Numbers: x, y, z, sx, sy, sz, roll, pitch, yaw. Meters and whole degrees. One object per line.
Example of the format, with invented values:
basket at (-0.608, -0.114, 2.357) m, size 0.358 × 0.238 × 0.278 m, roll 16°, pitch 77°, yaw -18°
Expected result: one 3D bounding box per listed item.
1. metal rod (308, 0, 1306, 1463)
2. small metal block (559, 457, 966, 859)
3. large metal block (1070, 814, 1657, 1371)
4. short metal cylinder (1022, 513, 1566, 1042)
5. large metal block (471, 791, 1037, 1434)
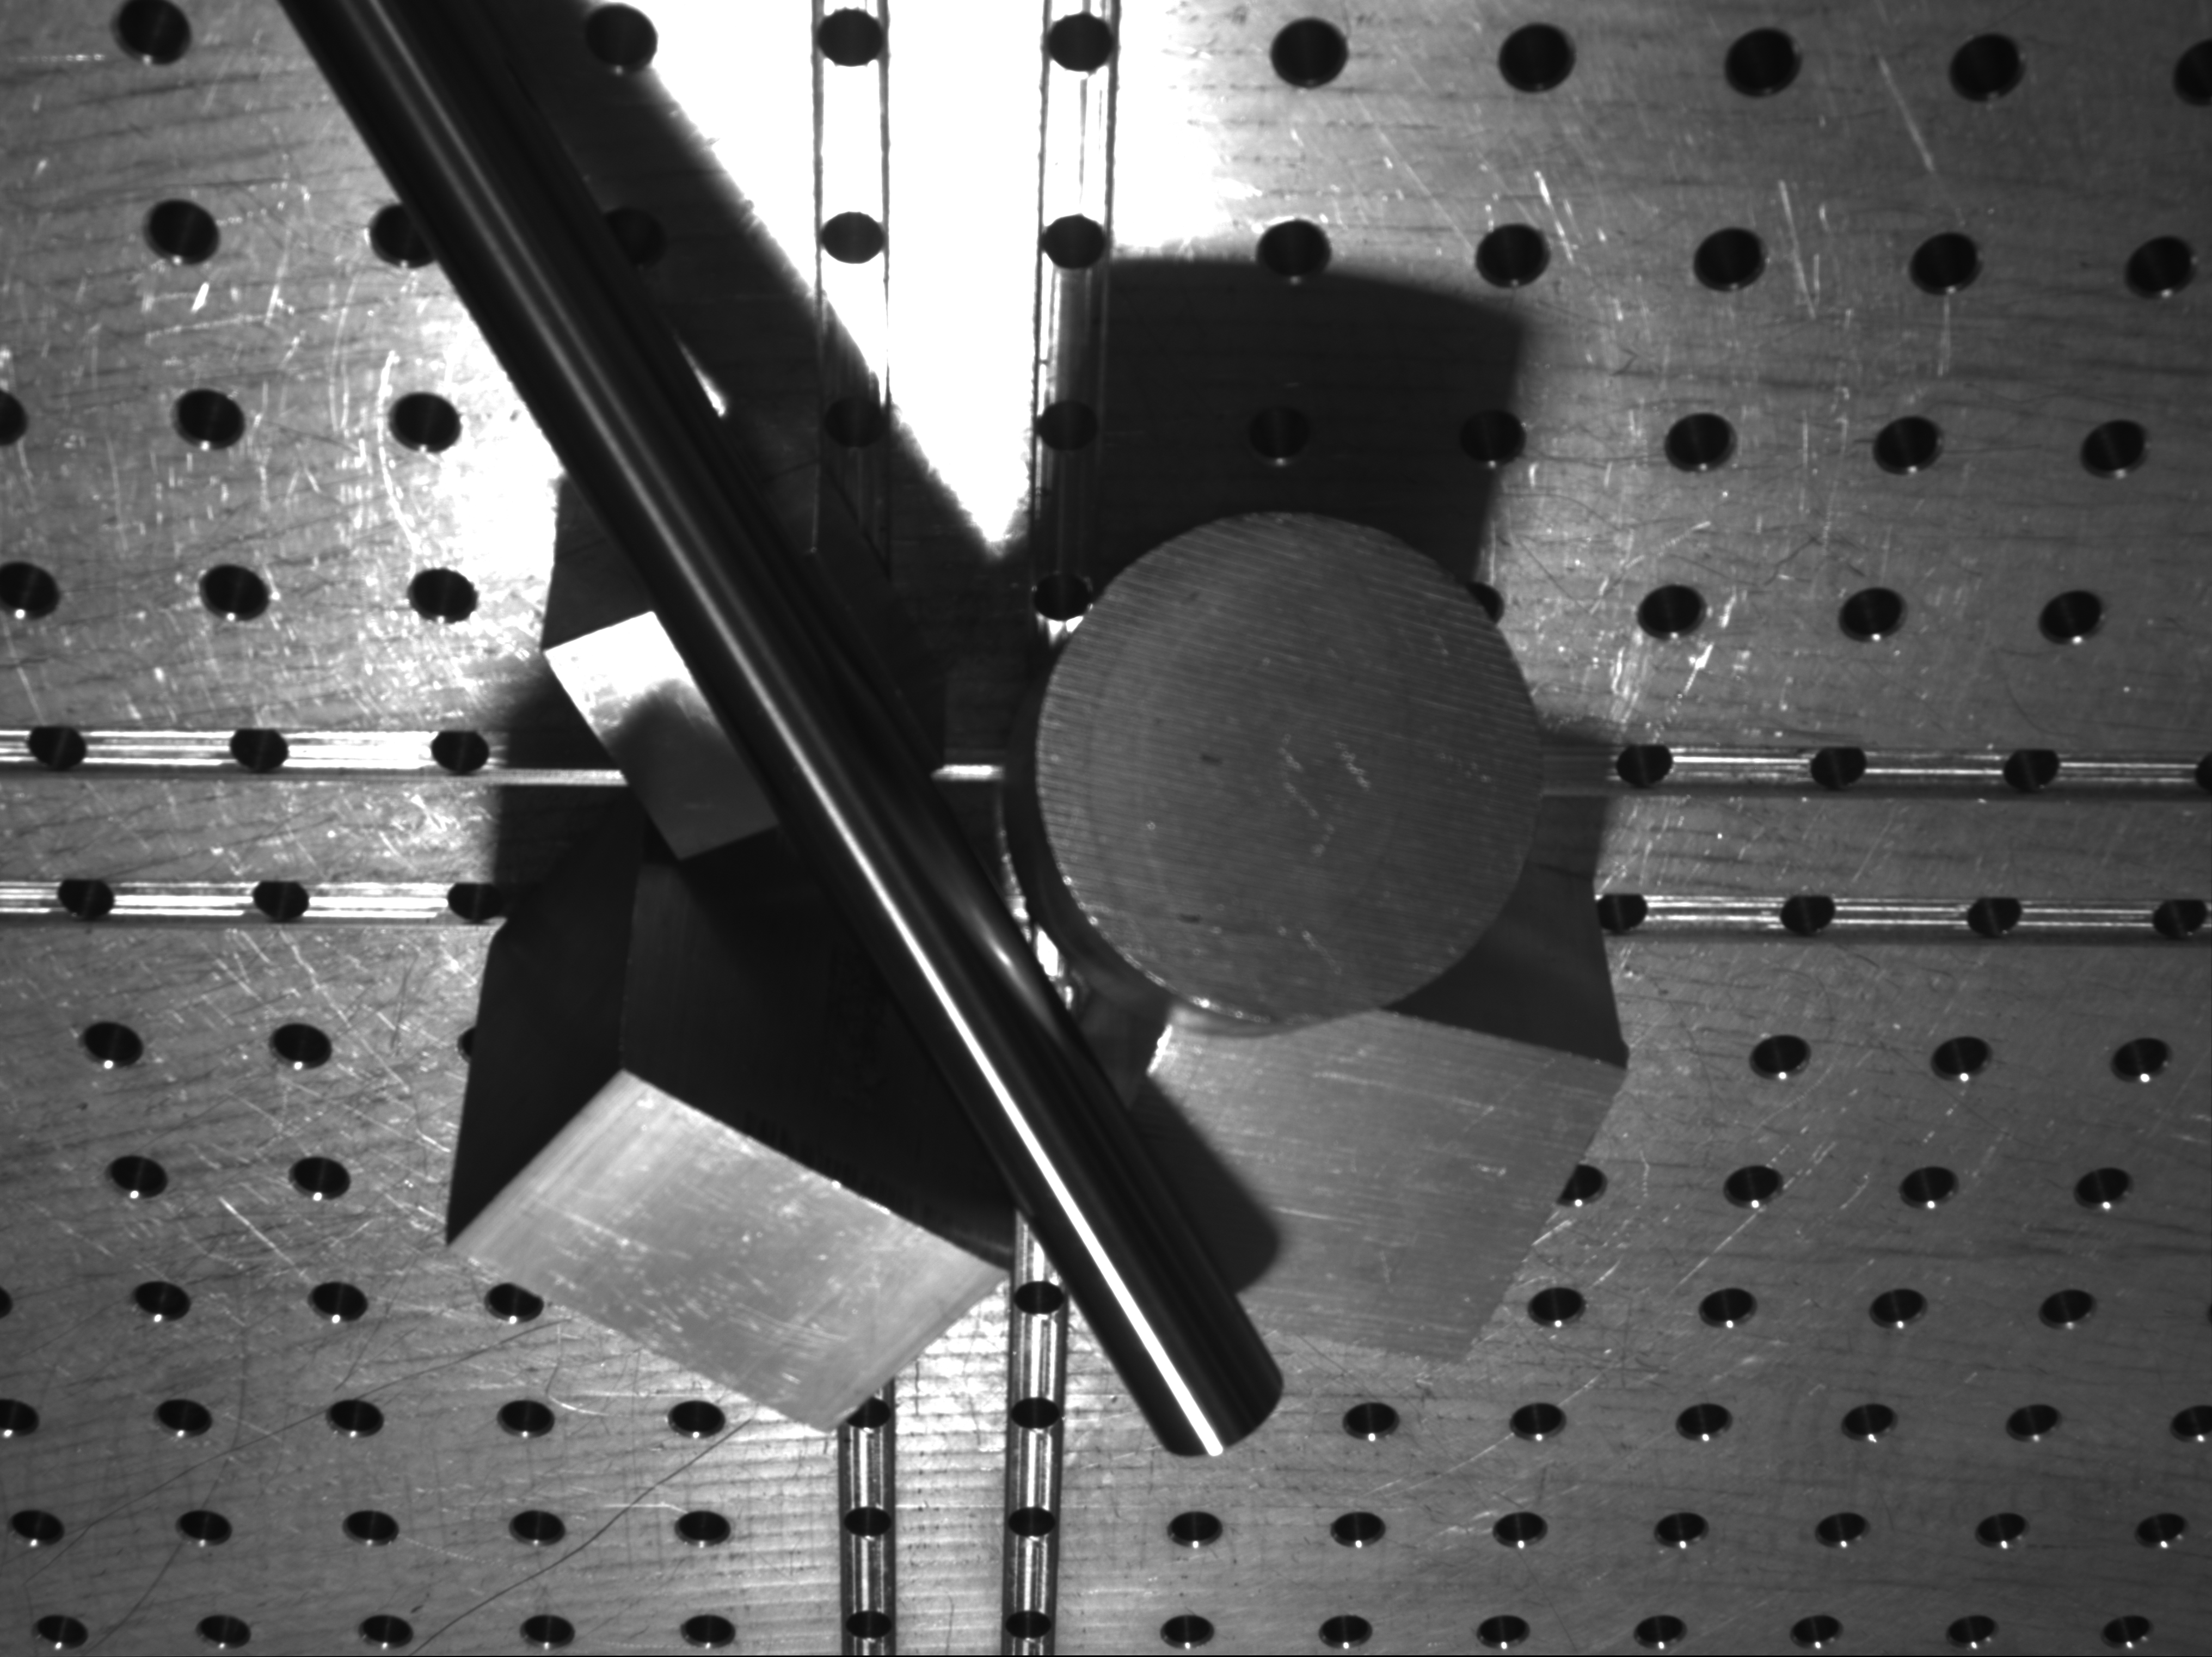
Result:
metal rod at (-0.043, -0.015, 0.588) m, size 0.025 × 0.025 × 0.300 m, roll -22°, pitch 116°, yaw 16°
small metal block at (-0.057, -0.028, 0.616) m, size 0.050 × 0.025 × 0.050 m, roll -19°, pitch 128°, yaw 14°
large metal block at (0.044, 0.046, 0.664) m, size 0.080 × 0.050 × 0.080 m, roll 14°, pitch 128°, yaw -13°
short metal cylinder at (0.029, -0.007, 0.592) m, size 0.080 × 0.080 × 0.050 m, roll 7°, pitch 173°, yaw -7°
large metal block at (-0.059, 0.046, 0.642) m, size 0.080 × 0.080 × 0.050 m, roll 31°, pitch 123°, yaw -24°
